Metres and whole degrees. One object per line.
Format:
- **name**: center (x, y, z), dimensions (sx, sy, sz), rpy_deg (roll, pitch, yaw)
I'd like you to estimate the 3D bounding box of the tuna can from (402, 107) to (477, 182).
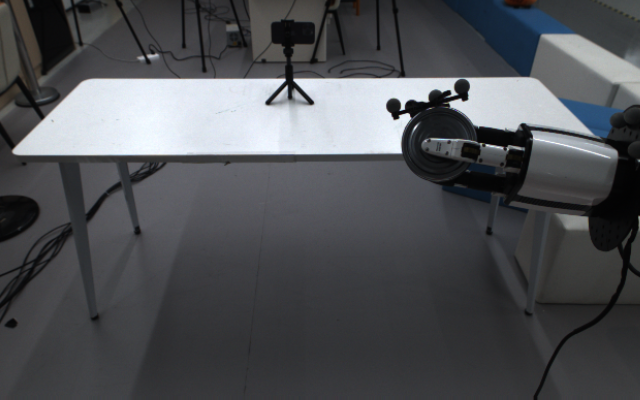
- **tuna can**: center (0.140, -0.067, 0.563), dimensions (0.085, 0.085, 0.034), rpy_deg (12, 3, 14)
